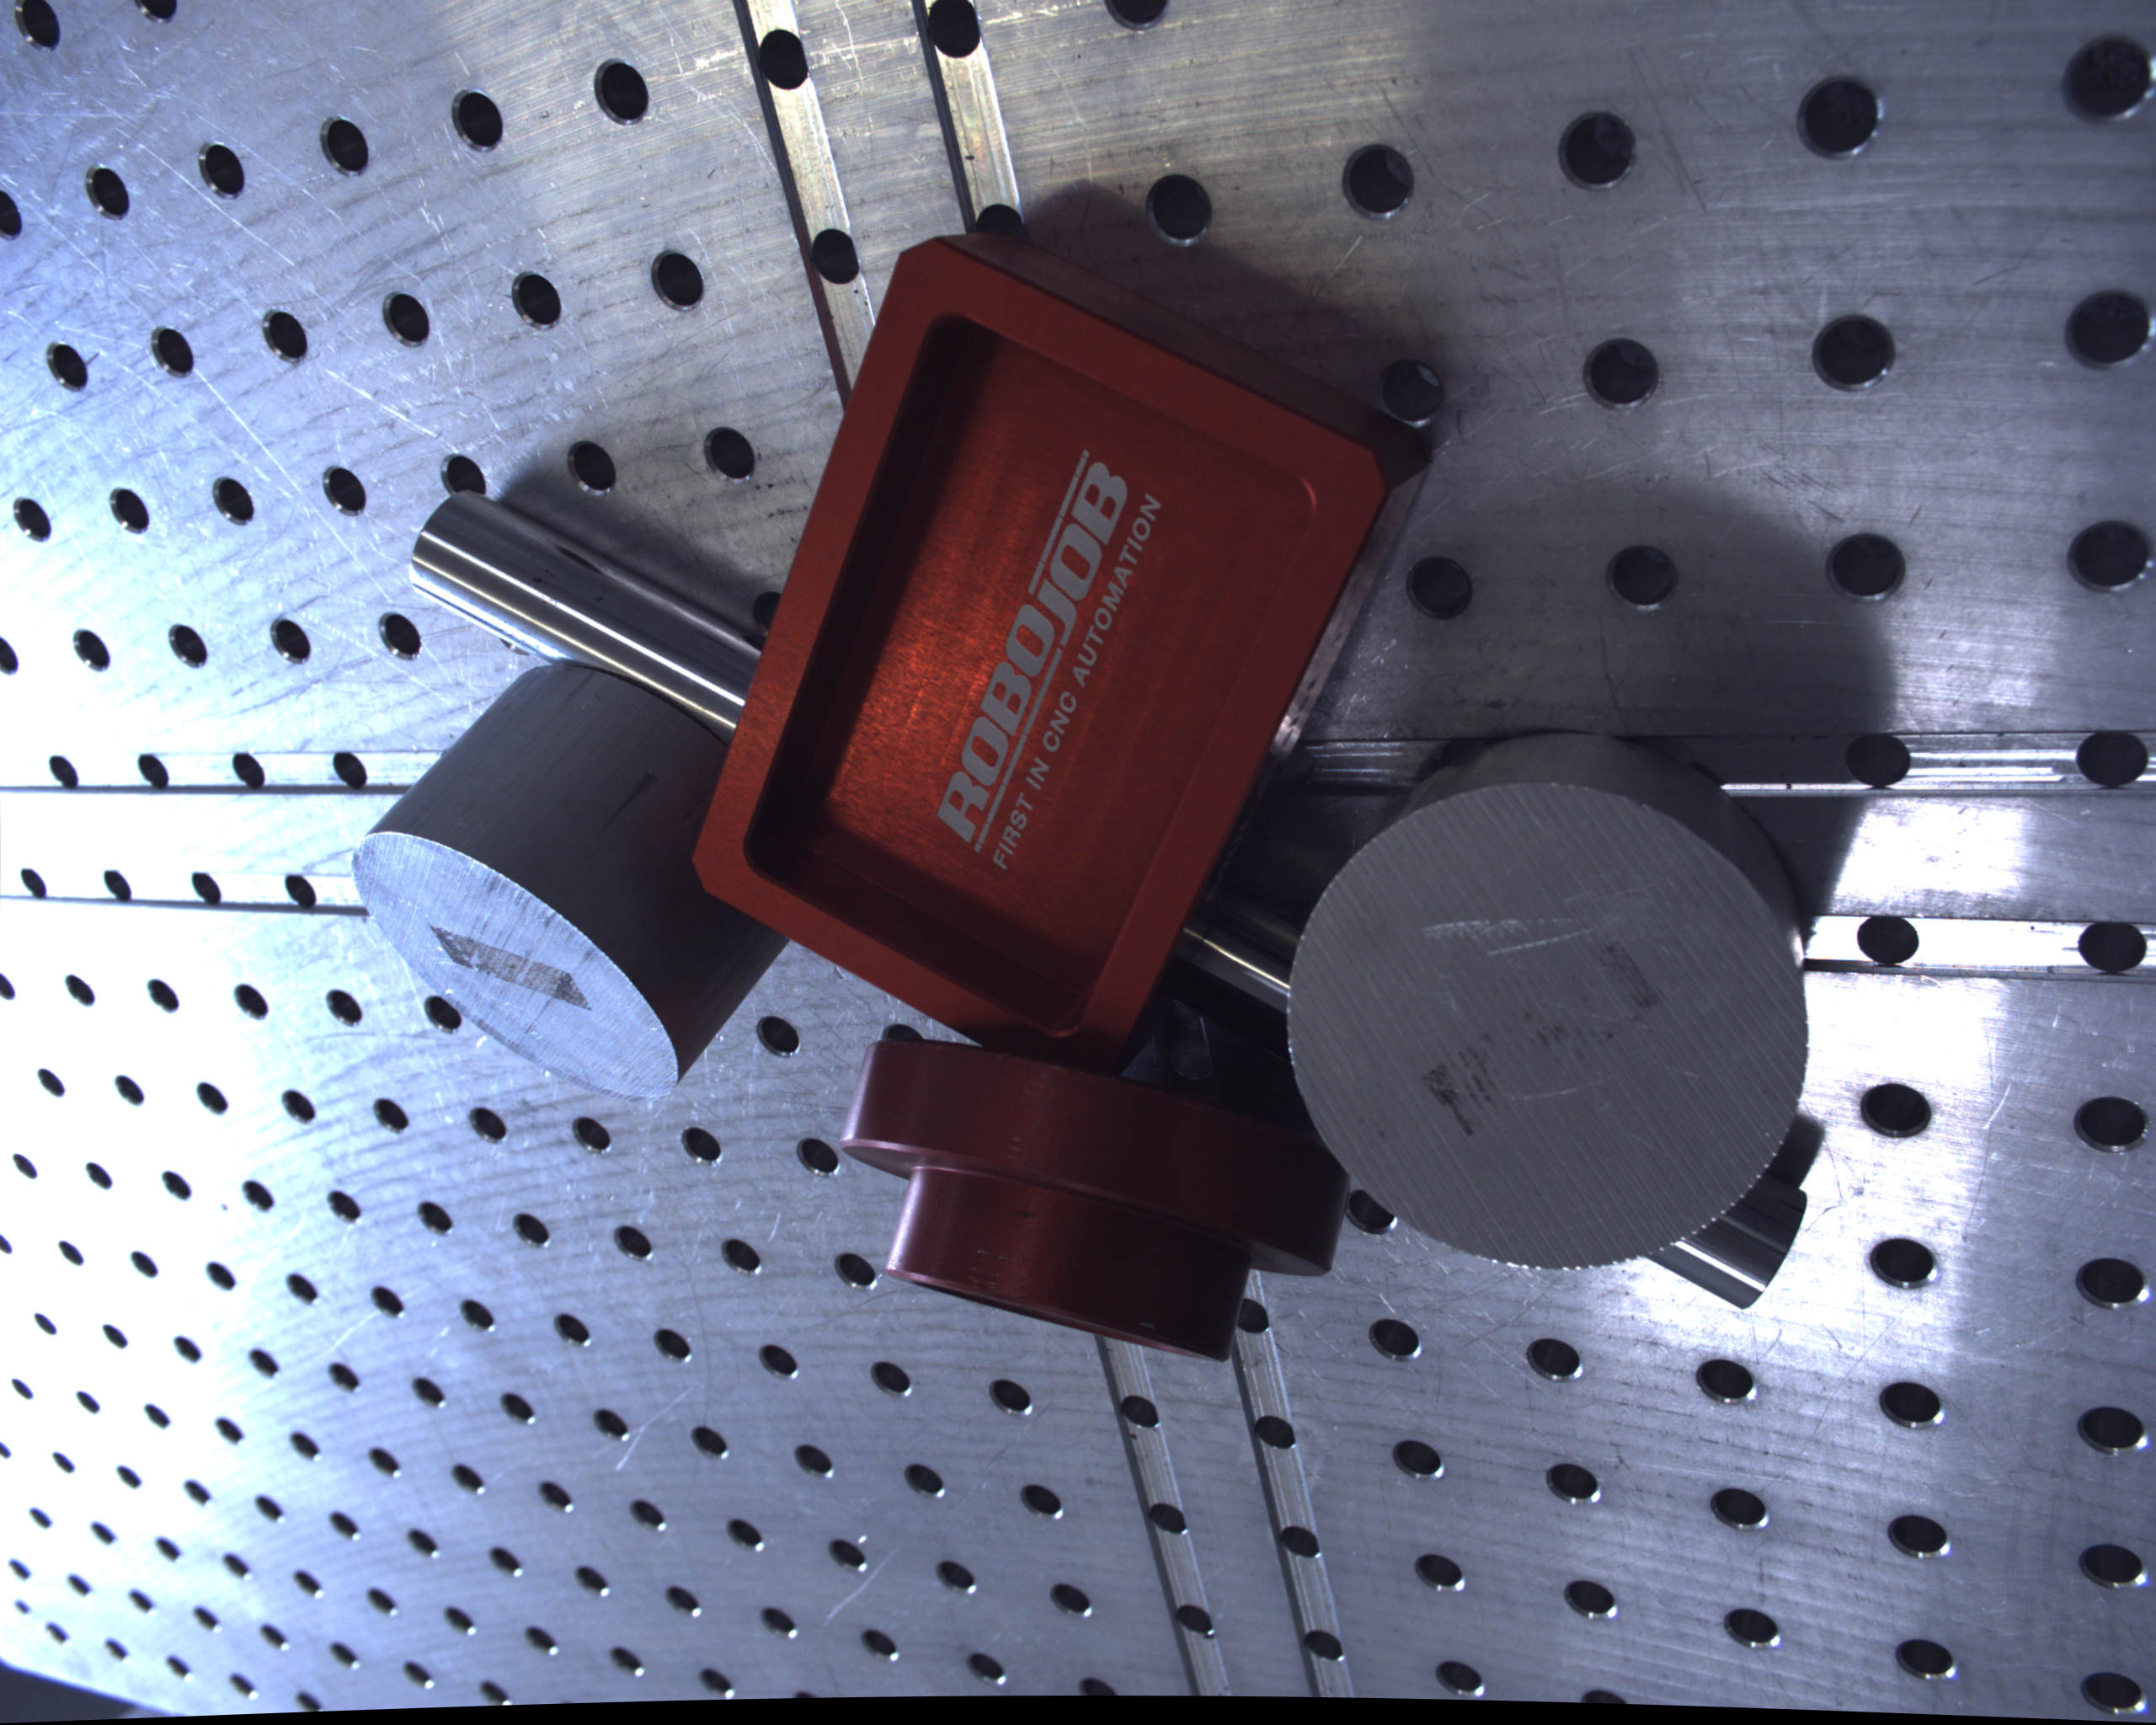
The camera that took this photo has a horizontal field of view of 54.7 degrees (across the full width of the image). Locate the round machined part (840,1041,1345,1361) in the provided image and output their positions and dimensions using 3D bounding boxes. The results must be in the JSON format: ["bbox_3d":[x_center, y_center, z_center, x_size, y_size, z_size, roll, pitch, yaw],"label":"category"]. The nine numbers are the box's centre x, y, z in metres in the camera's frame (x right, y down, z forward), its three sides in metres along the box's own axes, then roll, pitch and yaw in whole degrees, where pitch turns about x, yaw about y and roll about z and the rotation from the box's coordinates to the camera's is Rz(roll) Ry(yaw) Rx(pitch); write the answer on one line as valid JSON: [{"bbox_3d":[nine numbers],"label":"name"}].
[{"bbox_3d":[0.001,0.069,0.407,0.098,0.042,0.098,13,166,4],"label":"round machined part"}]

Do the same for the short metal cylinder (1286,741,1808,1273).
[{"bbox_3d":[0.080,0.022,0.351,0.080,0.050,0.079,4,102,16],"label":"short metal cylinder"}]

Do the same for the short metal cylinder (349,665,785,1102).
[{"bbox_3d":[-0.103,0.005,0.437,0.080,0.050,0.080,23,146,17],"label":"short metal cylinder"}]

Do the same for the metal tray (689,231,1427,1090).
[{"bbox_3d":[-0.007,-0.034,0.372,0.090,0.030,0.129,28,115,10],"label":"metal tray"}]

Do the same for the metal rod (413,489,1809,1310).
[{"bbox_3d":[-0.001,0.002,0.413,0.301,0.025,0.025,28,128,10],"label":"metal rod"}]
